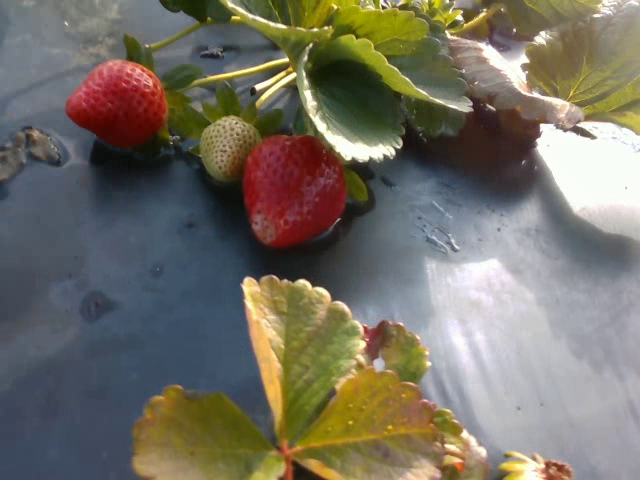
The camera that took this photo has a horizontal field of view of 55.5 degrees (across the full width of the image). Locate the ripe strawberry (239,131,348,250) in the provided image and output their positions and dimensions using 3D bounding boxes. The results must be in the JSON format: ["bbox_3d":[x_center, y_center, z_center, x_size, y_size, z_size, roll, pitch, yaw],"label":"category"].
[{"bbox_3d":[-0.015,-0.019,0.256,0.048,0.065,0.050,-11,-44,39],"label":"ripe strawberry"}]
